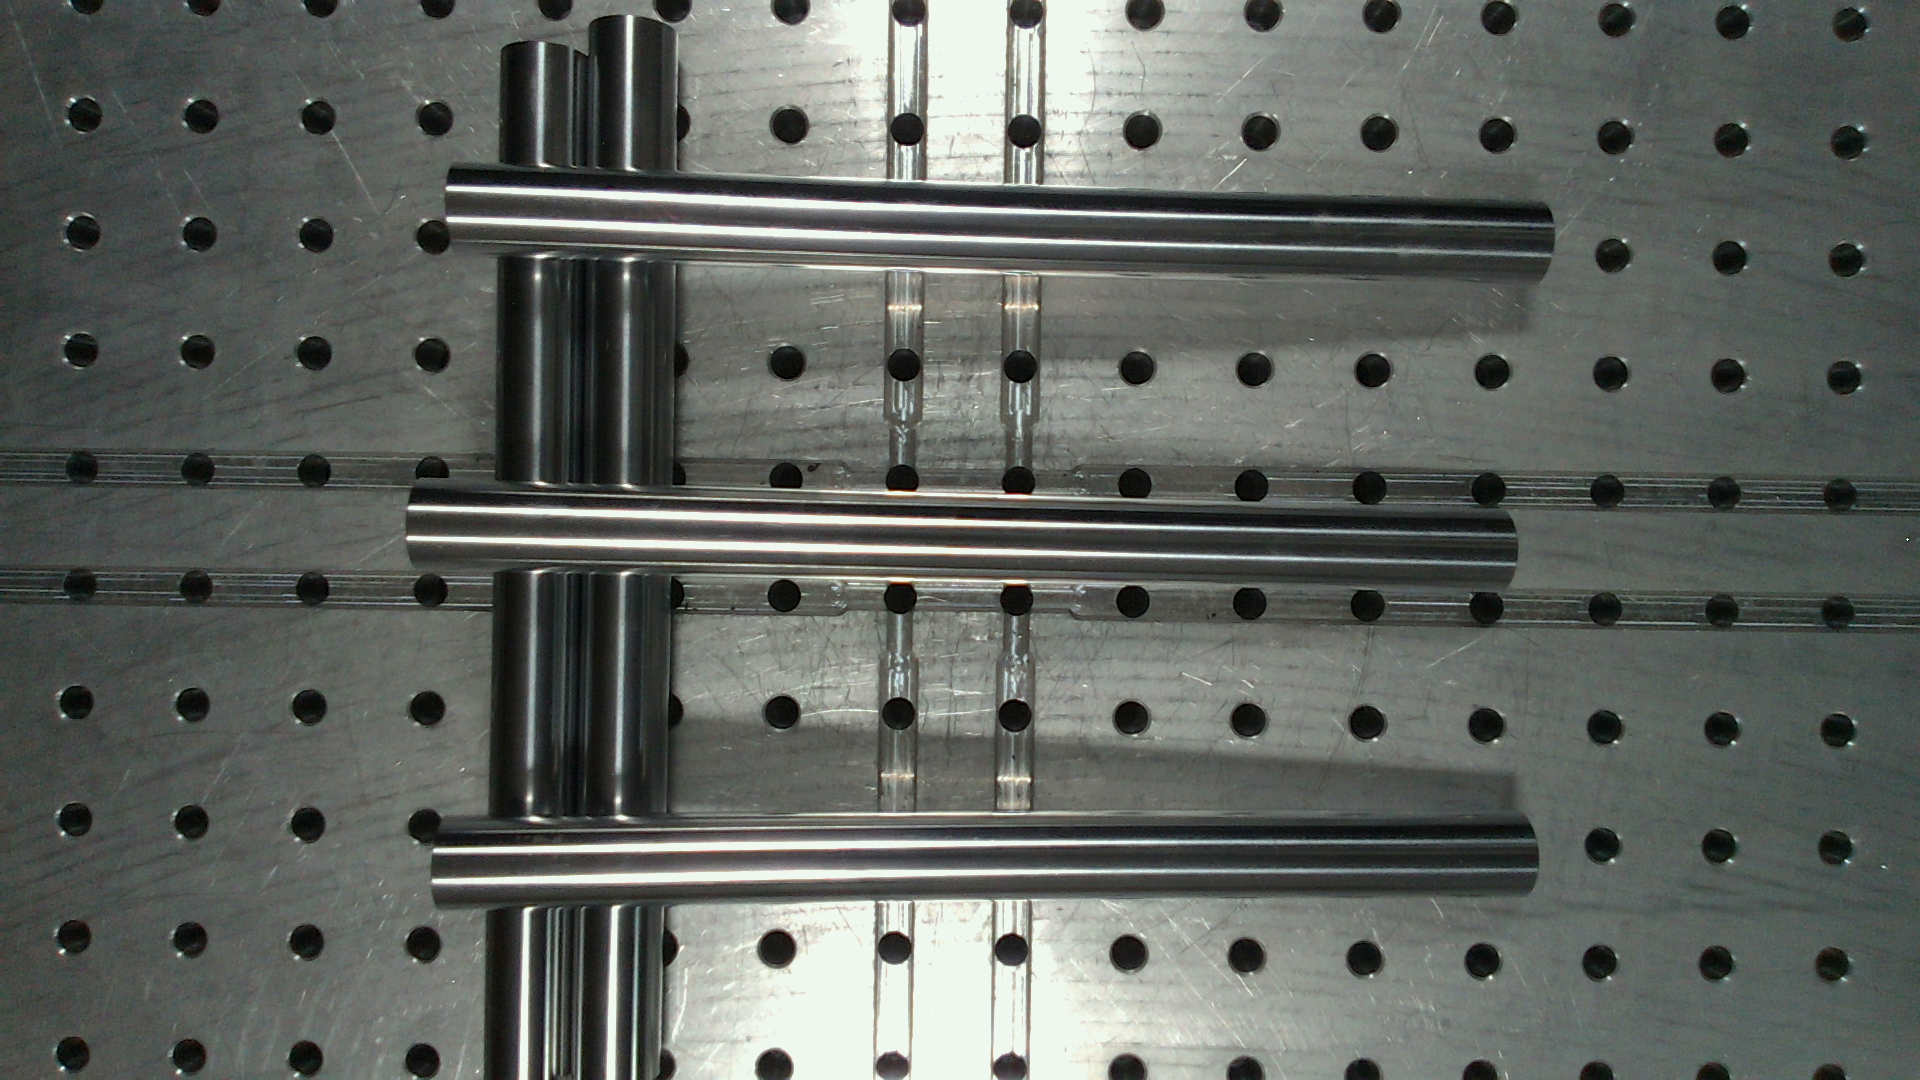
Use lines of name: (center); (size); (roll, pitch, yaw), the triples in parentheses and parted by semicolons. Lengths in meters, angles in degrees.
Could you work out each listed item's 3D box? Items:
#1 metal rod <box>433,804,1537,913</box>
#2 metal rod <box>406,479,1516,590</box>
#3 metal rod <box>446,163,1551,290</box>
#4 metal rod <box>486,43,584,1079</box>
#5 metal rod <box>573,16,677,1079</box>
metal rod: (0.012, 0.088, 0.384); (0.300, 0.025, 0.025); (1, 90, -6)
metal rod: (0.006, -0.001, 0.382); (0.300, 0.025, 0.025); (1, 90, -6)
metal rod: (0.015, -0.087, 0.383); (0.300, 0.025, 0.025); (0, 90, -6)
metal rod: (-0.121, 0.011, 0.397); (0.025, 0.025, 0.300); (1, 90, 0)
metal rod: (-0.096, 0.004, 0.397); (0.025, 0.025, 0.300); (1, 90, 0)
